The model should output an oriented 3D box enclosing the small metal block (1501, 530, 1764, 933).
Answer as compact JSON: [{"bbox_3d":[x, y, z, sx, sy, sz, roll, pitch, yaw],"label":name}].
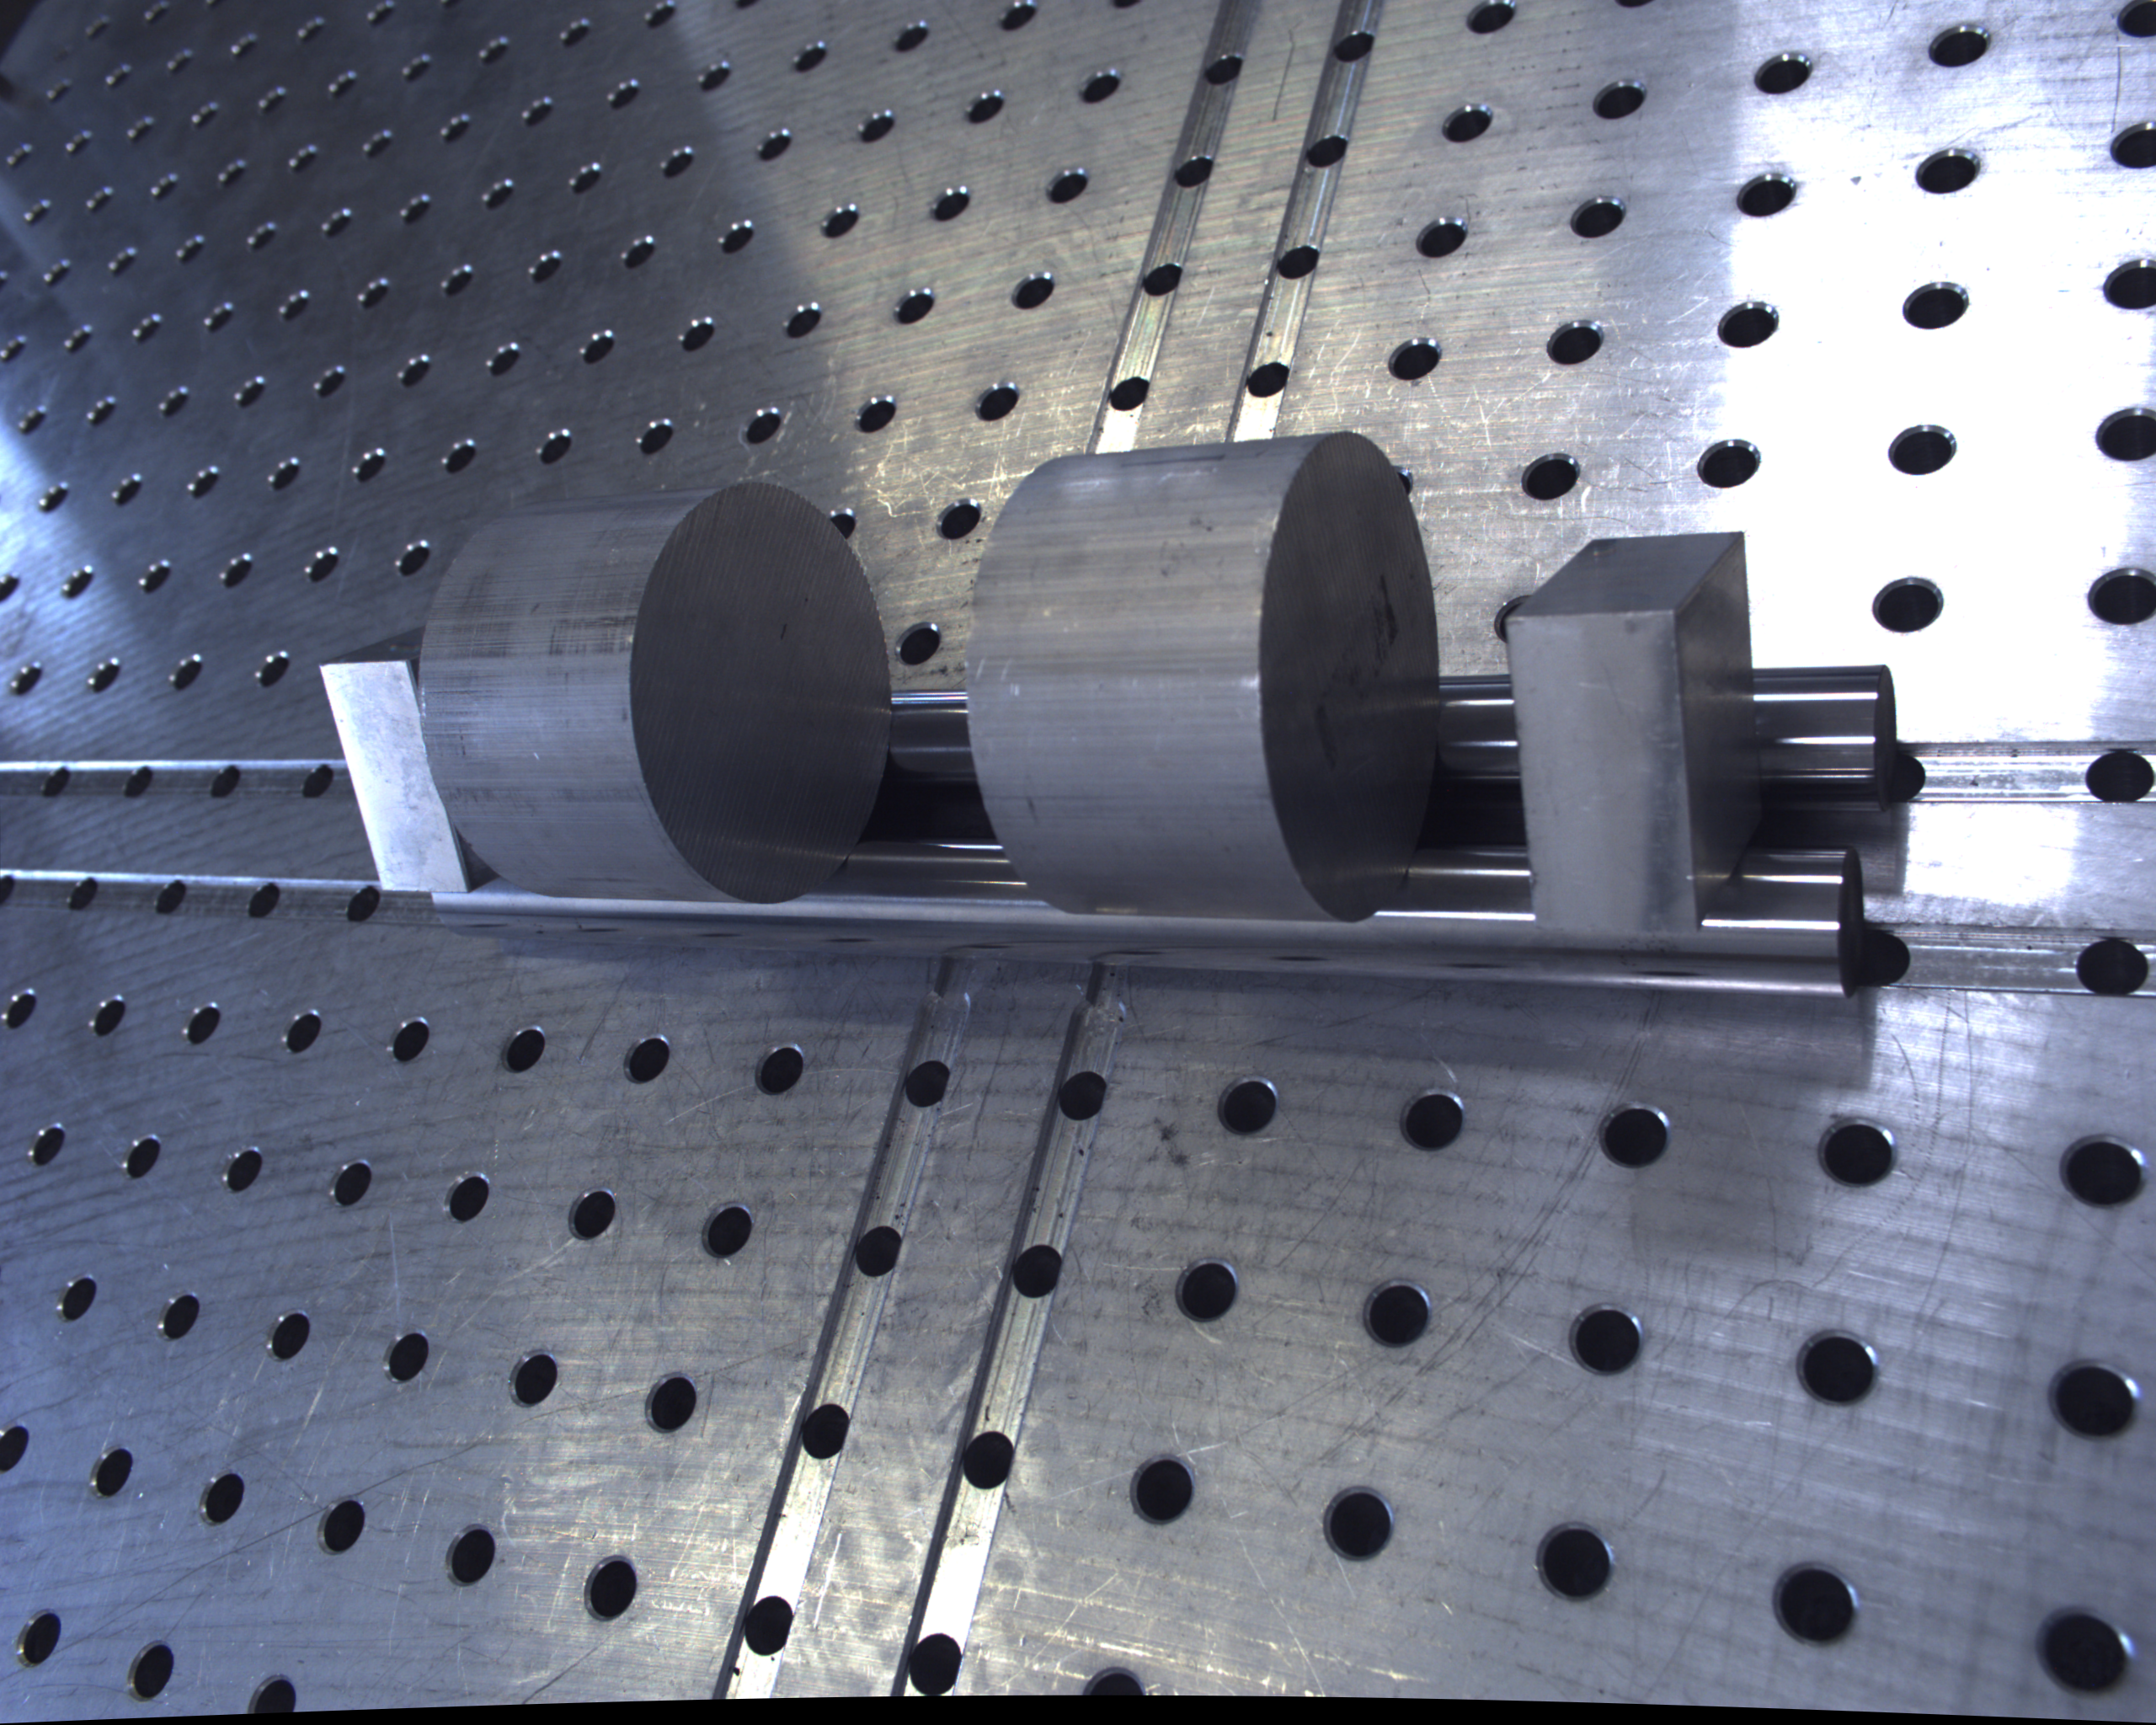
[{"bbox_3d":[0.089,-0.022,0.329,0.025,0.050,0.050,0,21,29],"label":"small metal block"}]

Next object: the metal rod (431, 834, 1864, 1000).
[{"bbox_3d":[-0.007,0.007,0.408,0.300,0.025,0.025,1,62,28],"label":"metal rod"}]

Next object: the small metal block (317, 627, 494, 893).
[{"bbox_3d":[-0.129,-0.026,0.447,0.025,0.050,0.050,1,20,29],"label":"small metal block"}]

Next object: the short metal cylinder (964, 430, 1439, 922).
[{"bbox_3d":[0.023,-0.030,0.351,0.050,0.080,0.080,1,62,29],"label":"short metal cylinder"}]

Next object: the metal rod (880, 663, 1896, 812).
[{"bbox_3d":[0.003,-0.024,0.421,0.300,0.025,0.025,1,62,28],"label":"metal rod"}]

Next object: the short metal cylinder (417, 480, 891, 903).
[{"bbox_3d":[-0.080,-0.032,0.407,0.050,0.080,0.080,1,62,29],"label":"short metal cylinder"}]
